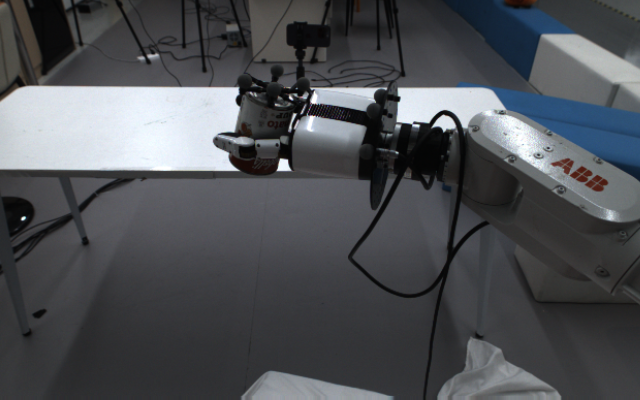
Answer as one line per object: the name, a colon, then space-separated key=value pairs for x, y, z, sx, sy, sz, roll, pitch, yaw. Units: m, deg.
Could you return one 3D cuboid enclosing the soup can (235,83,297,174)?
soup can: x=-0.074 y=-0.091 z=0.620 sx=0.067 sy=0.101 sz=0.067 roll=14 pitch=35 yaw=-10
